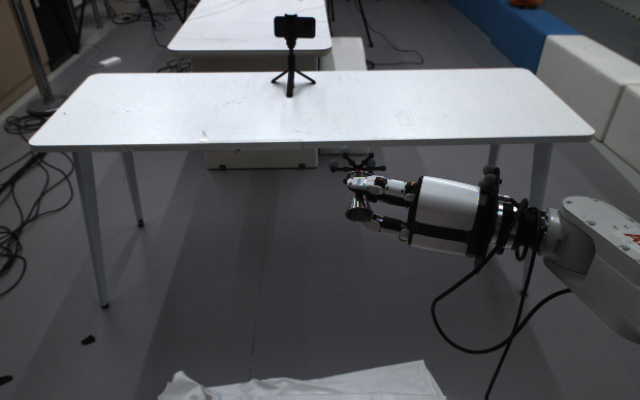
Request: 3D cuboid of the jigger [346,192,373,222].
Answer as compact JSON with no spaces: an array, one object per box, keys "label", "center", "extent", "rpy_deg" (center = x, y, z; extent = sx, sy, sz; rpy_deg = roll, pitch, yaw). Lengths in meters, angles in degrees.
[{"label":"jigger","center":[0.060,-0.010,0.746],"extent":[0.043,0.043,0.071],"rpy_deg":[2,59,-1]}]
